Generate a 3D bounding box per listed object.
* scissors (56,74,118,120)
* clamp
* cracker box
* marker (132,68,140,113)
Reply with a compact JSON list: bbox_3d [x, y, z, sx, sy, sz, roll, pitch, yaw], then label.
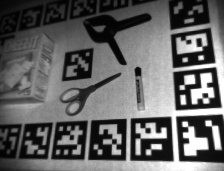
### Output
[{"bbox_3d":[-0.070,0.019,0.611,0.202,0.016,0.087,-31,62,6],"label":"scissors"},{"bbox_3d":[-0.012,-0.160,0.660,0.200,0.037,0.165,28,82,27],"label":"clamp"},{"bbox_3d":[-0.291,-0.047,0.694,0.163,0.073,0.213,-3,70,21],"label":"cracker box"},{"bbox_3d":[0.062,0.012,0.561,0.019,0.020,0.120,-8,68,20],"label":"marker"}]
